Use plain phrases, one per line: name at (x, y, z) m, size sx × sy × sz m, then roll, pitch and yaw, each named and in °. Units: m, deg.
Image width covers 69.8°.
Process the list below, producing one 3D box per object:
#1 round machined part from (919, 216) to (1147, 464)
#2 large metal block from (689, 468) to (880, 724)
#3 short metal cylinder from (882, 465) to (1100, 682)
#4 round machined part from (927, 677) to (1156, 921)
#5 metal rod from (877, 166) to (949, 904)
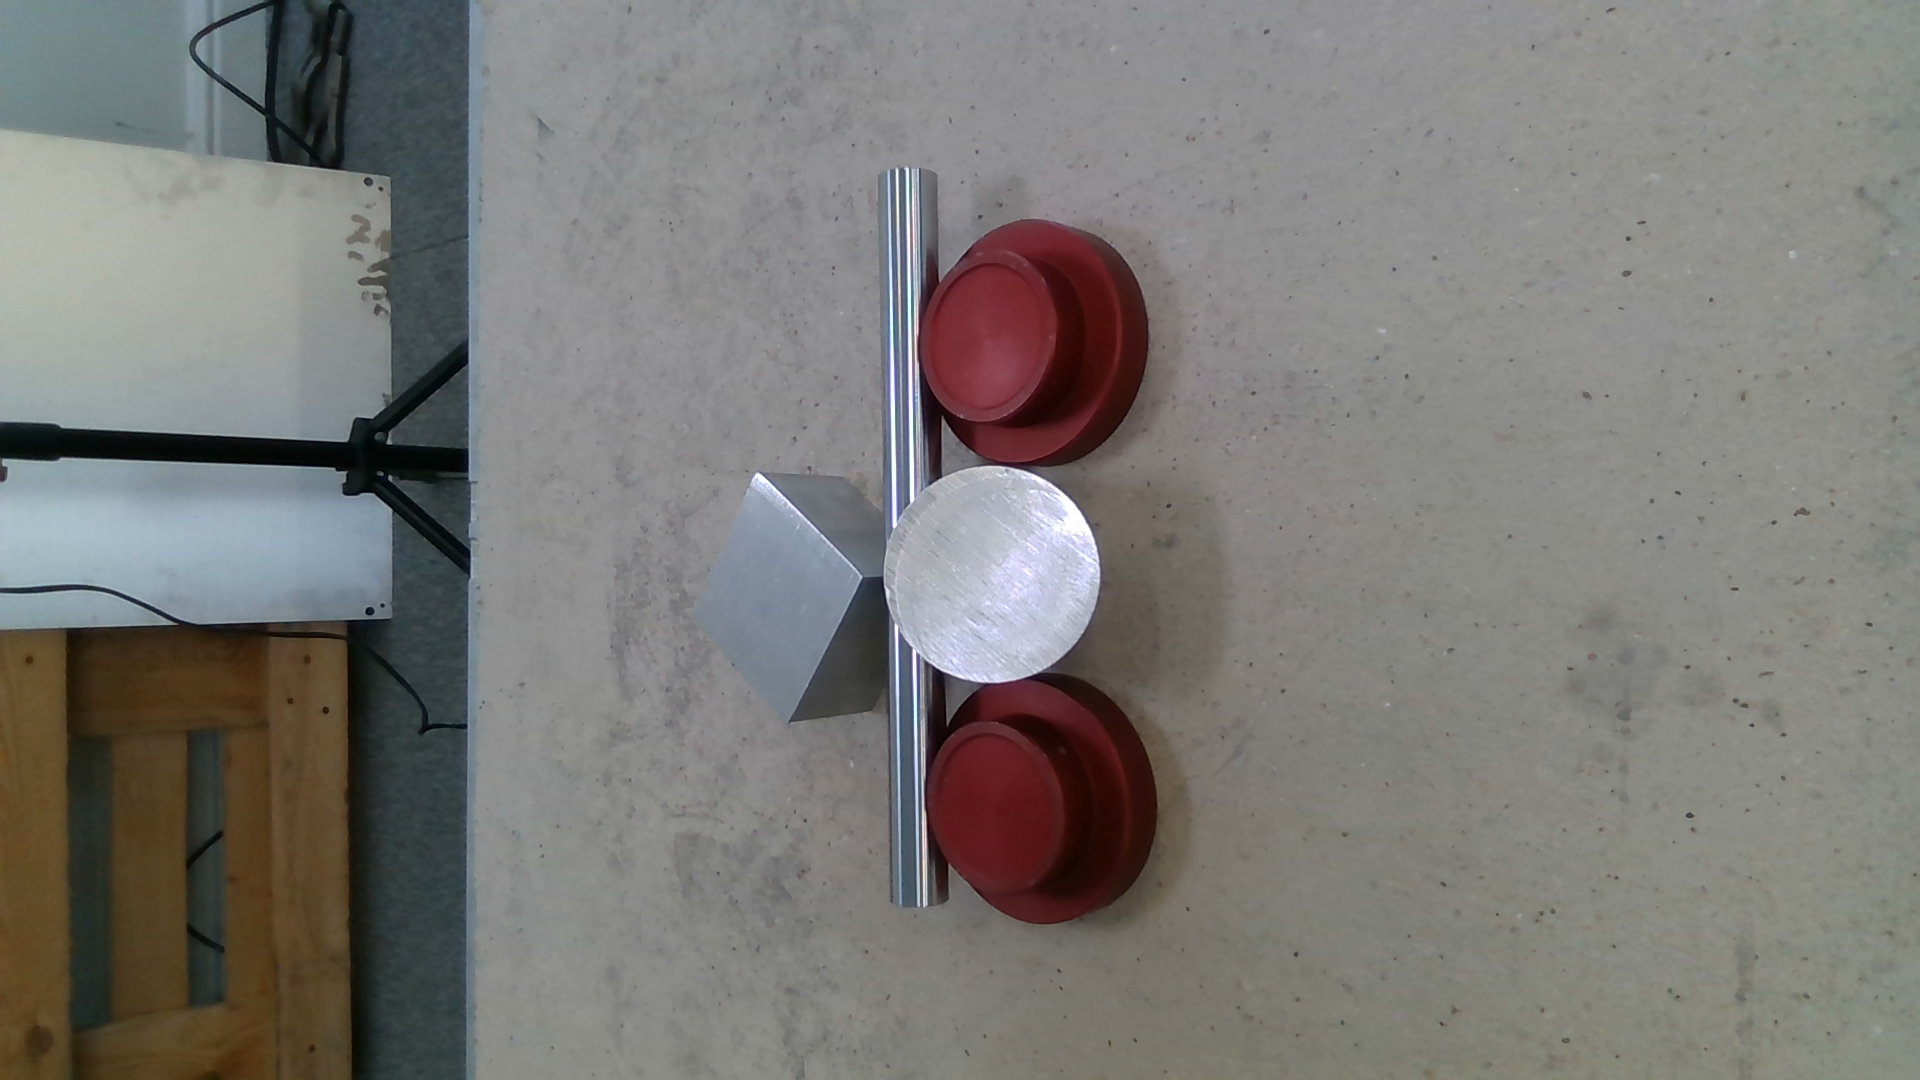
round machined part at (0.022, -0.080, 0.551) m, size 0.098 × 0.042 × 0.098 m, roll 0°, pitch 91°, yaw 40°
large metal block at (-0.067, 0.024, 0.620) m, size 0.080 × 0.050 × 0.080 m, roll 43°, pitch 116°, yaw 32°
short metal cylinder at (0.013, 0.013, 0.531) m, size 0.080 × 0.050 × 0.080 m, roll 0°, pitch 90°, yaw 5°
round machined part at (0.026, 0.103, 0.551) m, size 0.098 × 0.042 × 0.098 m, roll 0°, pitch 91°, yaw 40°
metal rod at (-0.019, -0.002, 0.571) m, size 0.025 × 0.025 × 0.300 m, roll -1°, pitch 90°, yaw 40°
